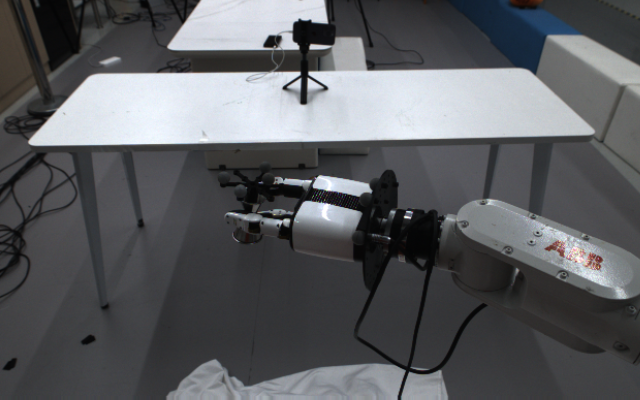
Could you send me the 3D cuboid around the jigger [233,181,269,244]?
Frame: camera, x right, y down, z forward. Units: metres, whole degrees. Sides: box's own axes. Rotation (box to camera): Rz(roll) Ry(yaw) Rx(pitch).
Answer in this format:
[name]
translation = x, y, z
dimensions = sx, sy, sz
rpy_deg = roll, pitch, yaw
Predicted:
[jigger]
translation = -0.100, 0.023, 0.686
dimensions = 0.043, 0.071, 0.043
rpy_deg = 9, 30, -5
